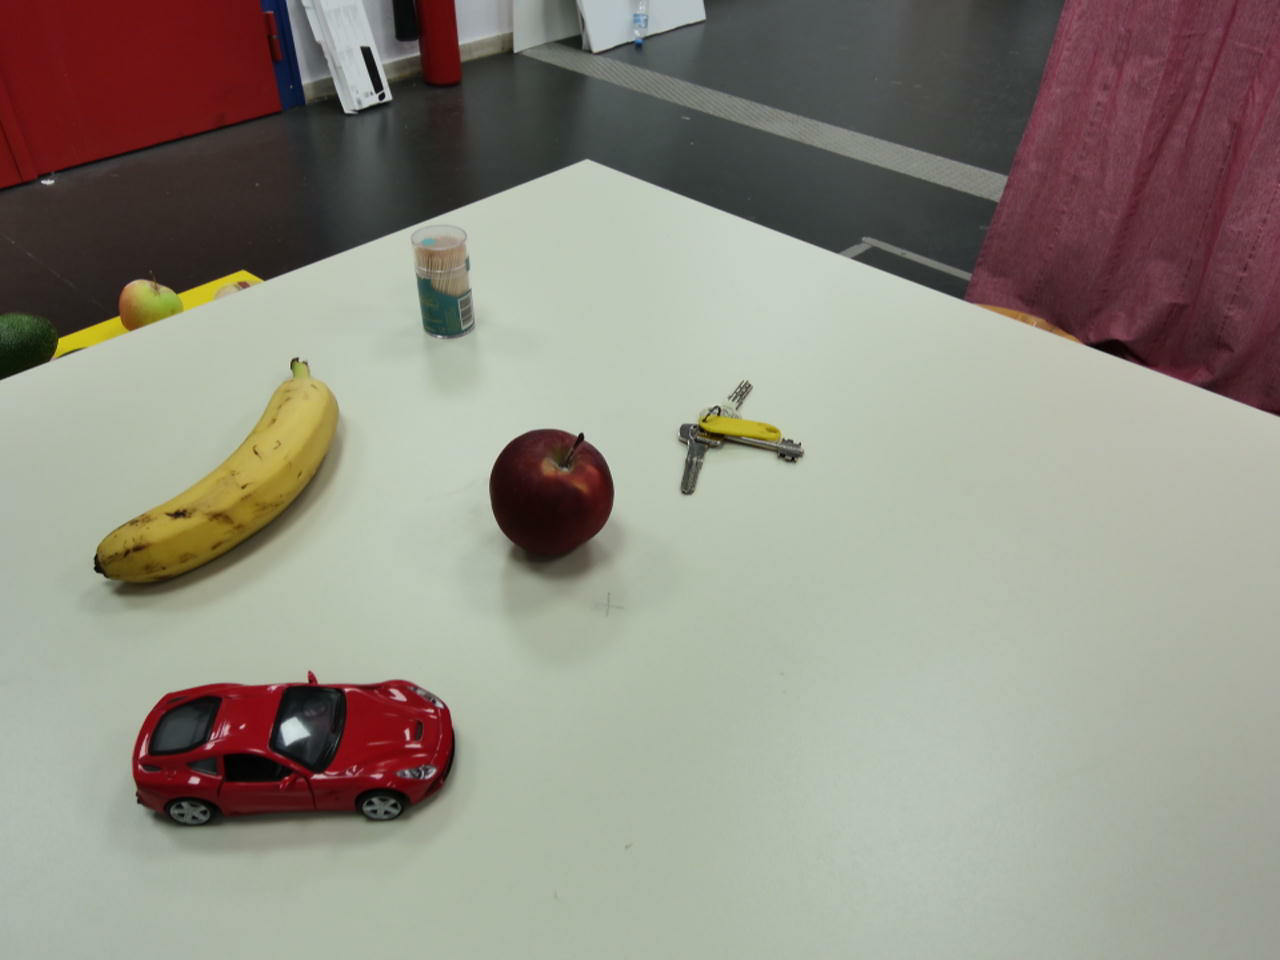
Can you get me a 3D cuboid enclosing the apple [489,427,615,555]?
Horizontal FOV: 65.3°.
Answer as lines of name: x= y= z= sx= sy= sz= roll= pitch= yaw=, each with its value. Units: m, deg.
apple: x=-0.050 y=0.007 z=0.560 sx=0.070 sy=0.072 sz=0.070 roll=0 pitch=38 yaw=0
